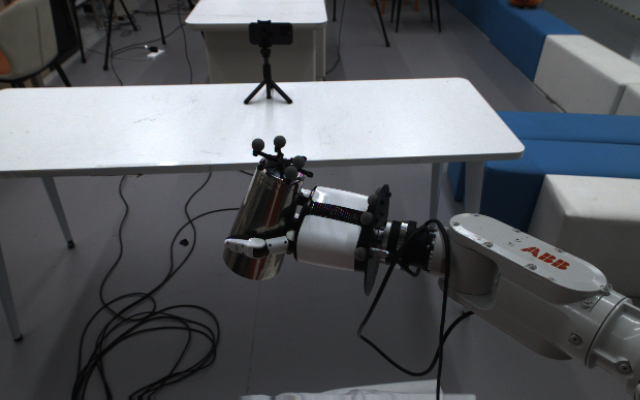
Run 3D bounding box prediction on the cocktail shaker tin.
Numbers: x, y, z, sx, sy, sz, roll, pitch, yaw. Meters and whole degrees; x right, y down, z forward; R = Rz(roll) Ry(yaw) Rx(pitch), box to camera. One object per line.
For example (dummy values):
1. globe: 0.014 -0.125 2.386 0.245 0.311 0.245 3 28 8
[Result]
1. cocktail shaker tin: -0.078 0.021 0.703 0.093 0.170 0.093 16 31 -10
